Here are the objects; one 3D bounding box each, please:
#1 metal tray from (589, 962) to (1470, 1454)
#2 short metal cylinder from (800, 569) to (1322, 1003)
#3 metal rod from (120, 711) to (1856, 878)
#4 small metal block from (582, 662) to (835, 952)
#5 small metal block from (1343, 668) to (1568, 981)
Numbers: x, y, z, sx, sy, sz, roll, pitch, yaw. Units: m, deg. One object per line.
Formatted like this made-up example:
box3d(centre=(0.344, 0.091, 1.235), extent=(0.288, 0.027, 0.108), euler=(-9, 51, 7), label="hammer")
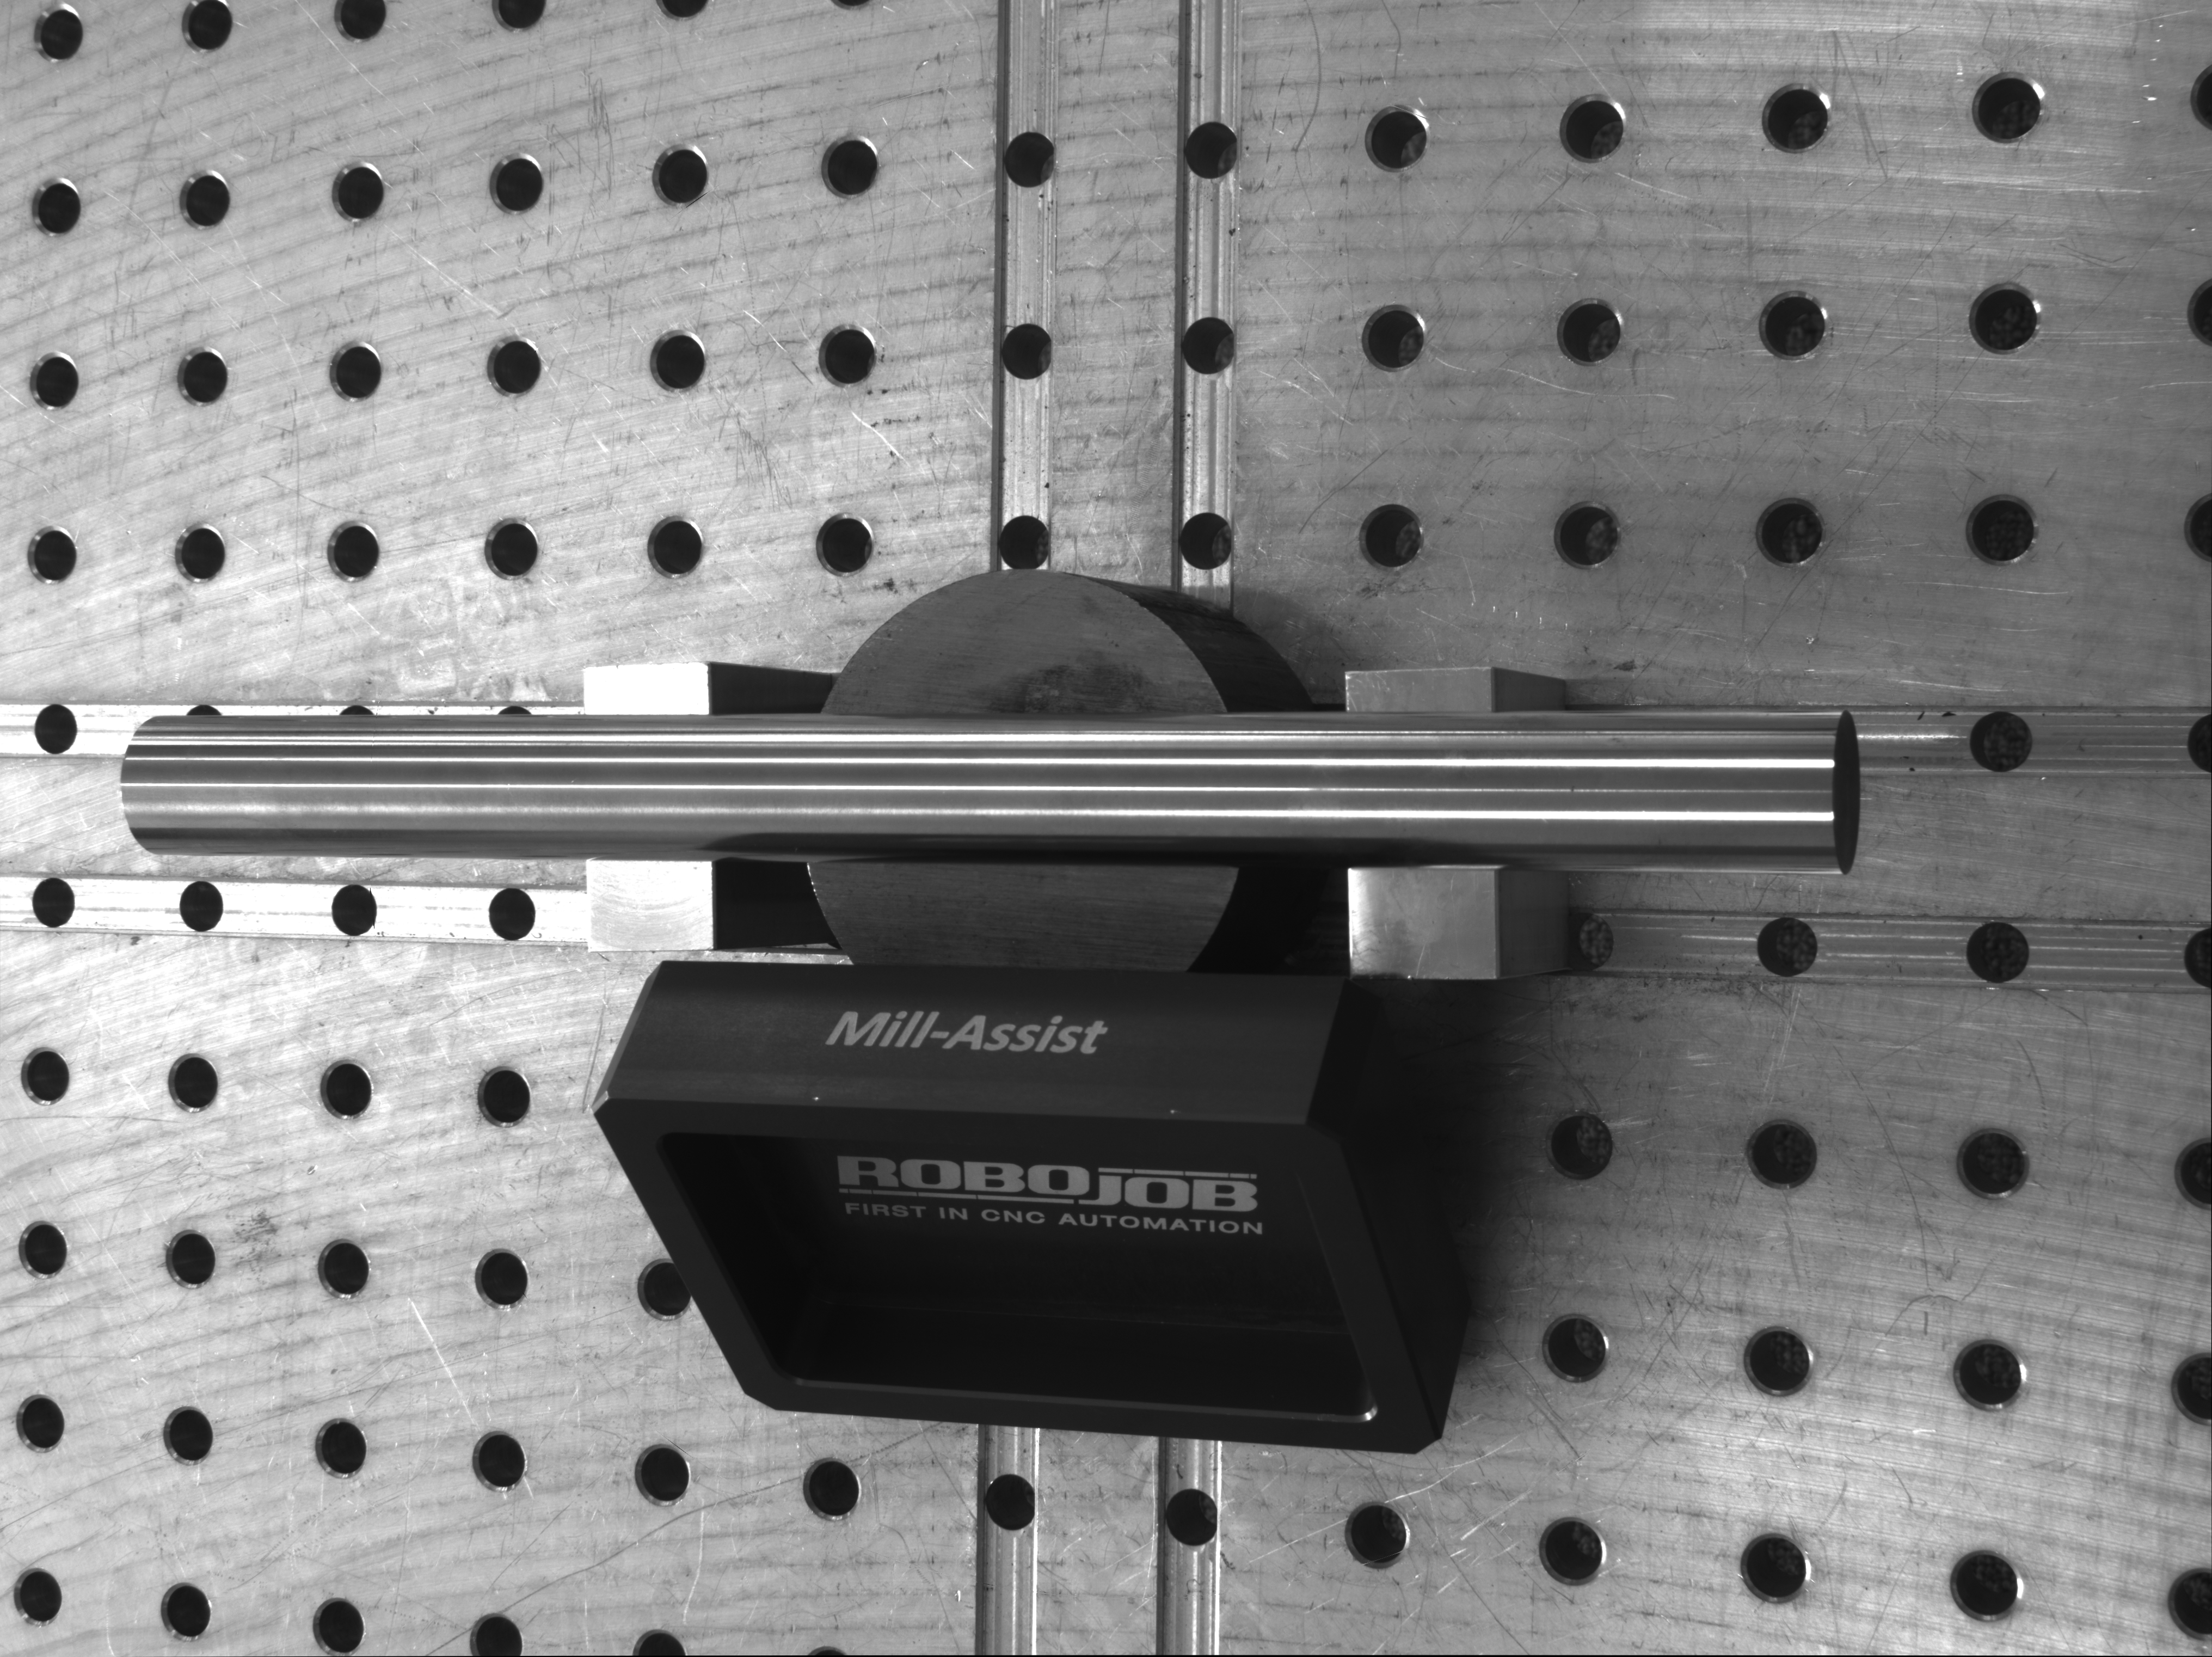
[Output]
box3d(centre=(-0.011, 0.064, 0.620), extent=(0.130, 0.090, 0.030), euler=(0, 47, 20), label="metal tray")
box3d(centre=(-0.006, -0.003, 0.637), extent=(0.080, 0.050, 0.080), euler=(0, 90, 20), label="short metal cylinder")
box3d(centre=(-0.029, -0.007, 0.606), extent=(0.299, 0.025, 0.025), euler=(1, 90, 20), label="metal rod")
box3d(centre=(-0.071, -0.004, 0.661), extent=(0.025, 0.050, 0.050), euler=(-1, 90, 20), label="small metal block")
box3d(centre=(0.059, 0.000, 0.614), extent=(0.025, 0.050, 0.050), euler=(-1, 90, 20), label="small metal block")
